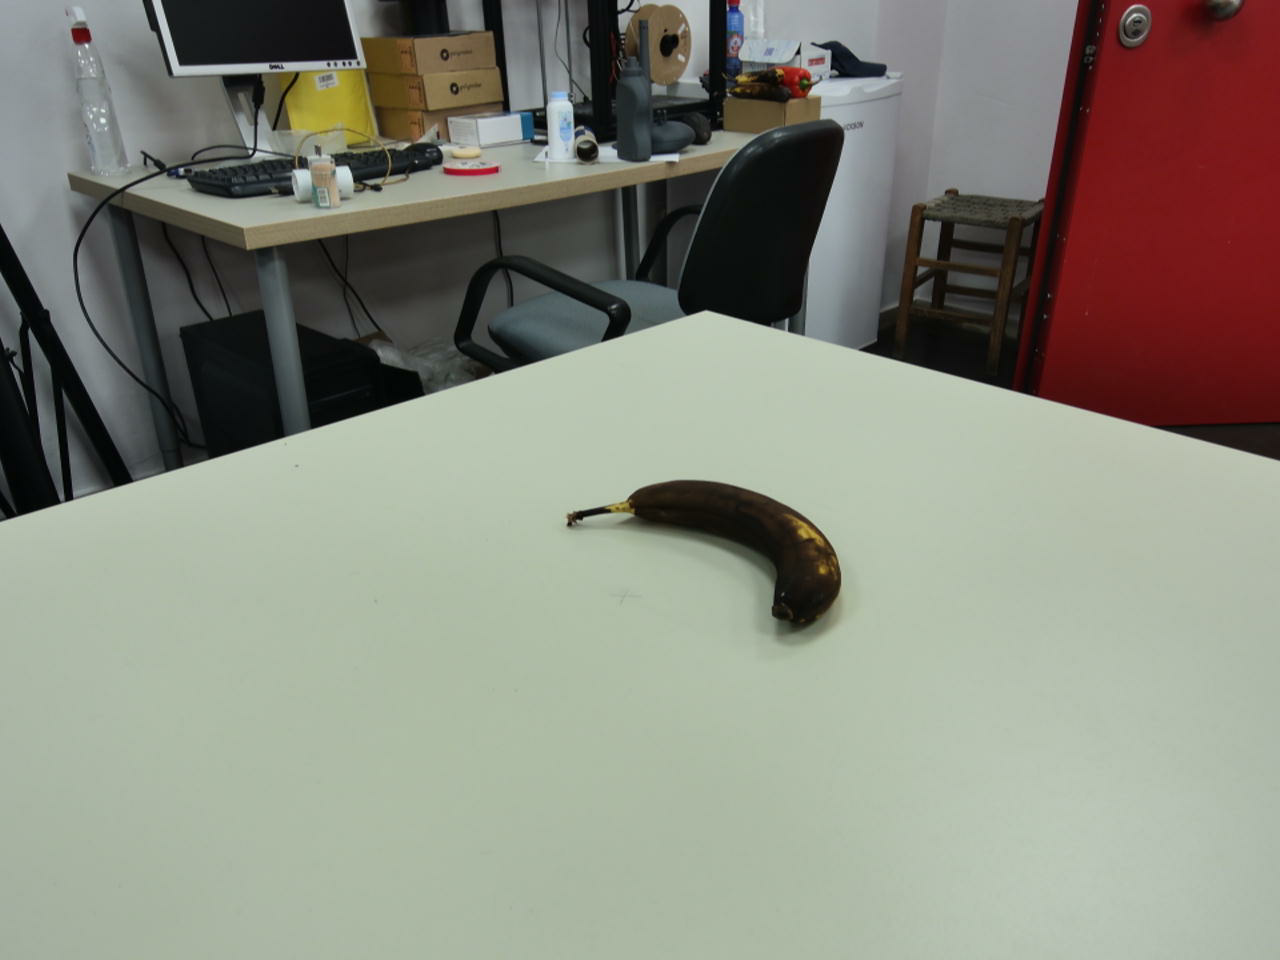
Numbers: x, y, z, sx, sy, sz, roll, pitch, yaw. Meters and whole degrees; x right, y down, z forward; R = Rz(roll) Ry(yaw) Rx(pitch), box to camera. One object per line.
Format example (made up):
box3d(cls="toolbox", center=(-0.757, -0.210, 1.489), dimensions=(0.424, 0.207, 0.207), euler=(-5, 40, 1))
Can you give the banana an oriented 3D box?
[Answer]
box3d(cls="banana", center=(0.050, 0.030, 0.601), dimensions=(0.091, 0.034, 0.188), euler=(-20, 31, -37))
